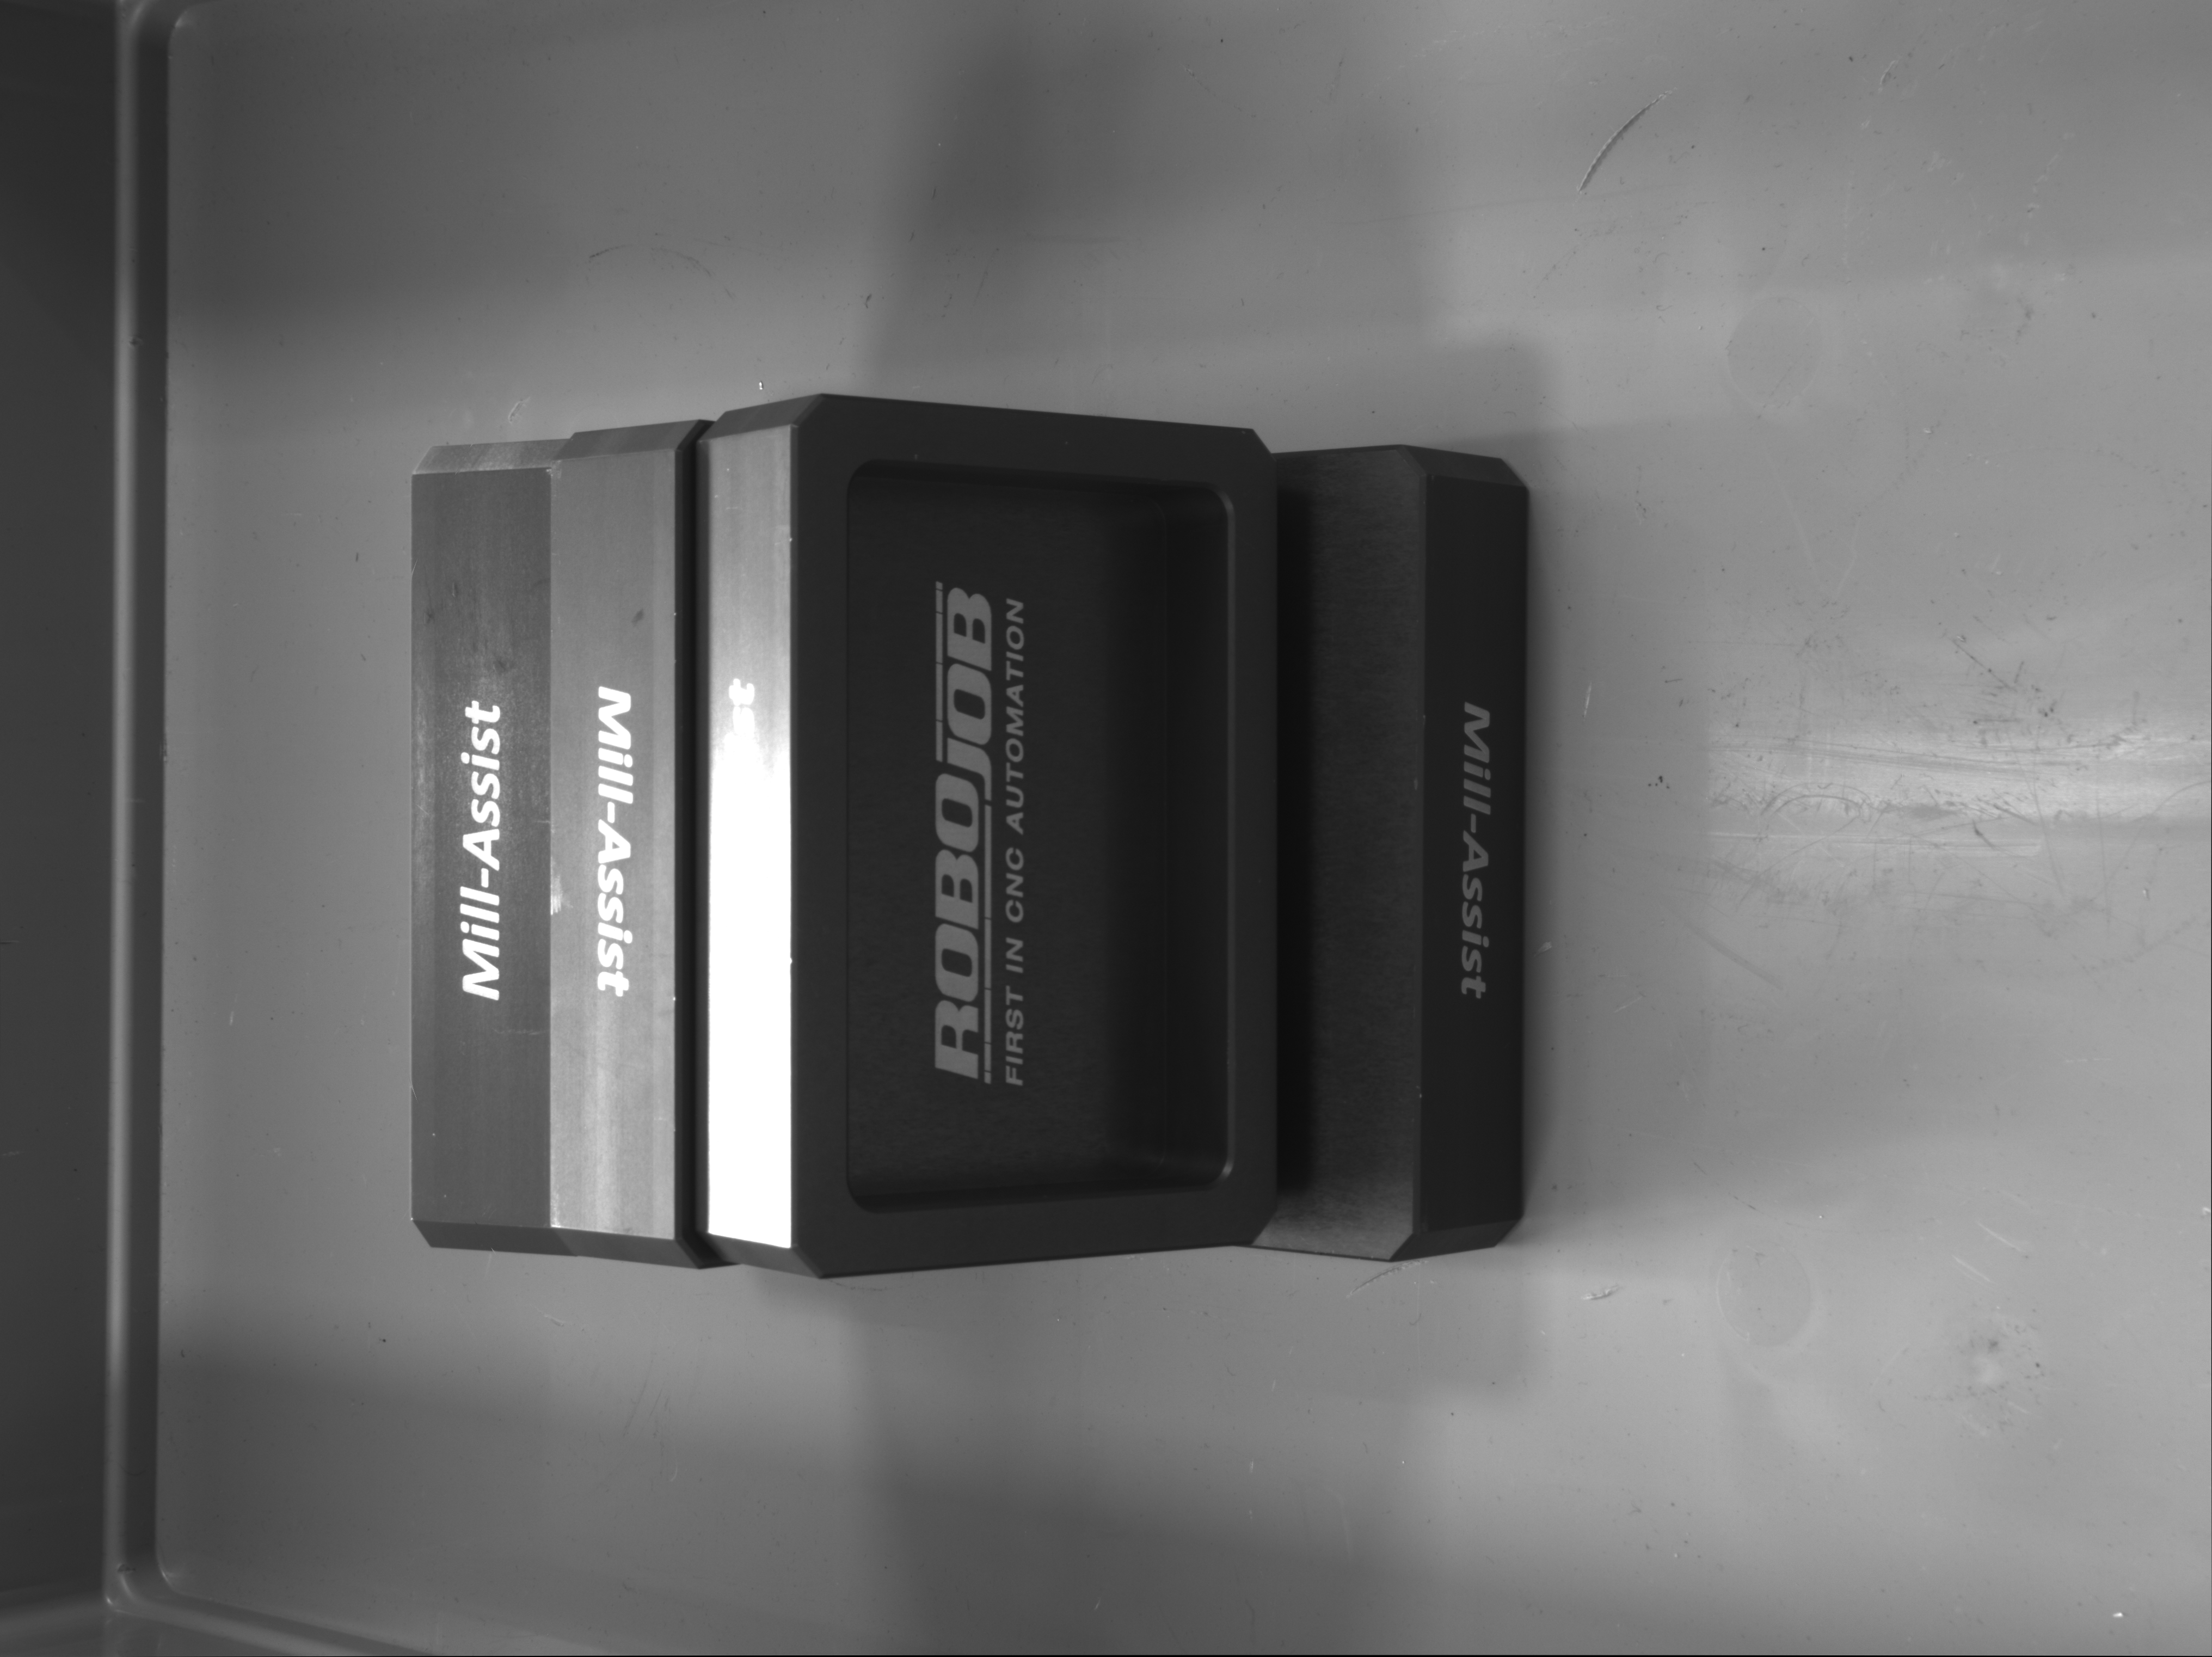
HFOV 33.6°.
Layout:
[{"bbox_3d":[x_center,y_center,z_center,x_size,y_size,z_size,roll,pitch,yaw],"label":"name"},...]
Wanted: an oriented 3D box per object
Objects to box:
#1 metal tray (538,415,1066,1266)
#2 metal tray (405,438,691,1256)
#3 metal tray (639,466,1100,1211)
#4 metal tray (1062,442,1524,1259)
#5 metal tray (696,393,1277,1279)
[{"bbox_3d":[-0.048,0.003,0.600,0.030,0.090,0.130,0,88,40],"label":"metal tray"},{"bbox_3d":[-0.079,0.003,0.625,0.030,0.090,0.130,0,90,28],"label":"metal tray"},{"bbox_3d":[-0.045,0.002,0.677,0.090,0.030,0.130,1,90,40],"label":"metal tray"},{"bbox_3d":[0.025,0.003,0.619,0.090,0.030,0.130,1,90,40],"label":"metal tray"},{"bbox_3d":[-0.017,0.001,0.573,0.030,0.090,0.130,0,90,54],"label":"metal tray"}]
